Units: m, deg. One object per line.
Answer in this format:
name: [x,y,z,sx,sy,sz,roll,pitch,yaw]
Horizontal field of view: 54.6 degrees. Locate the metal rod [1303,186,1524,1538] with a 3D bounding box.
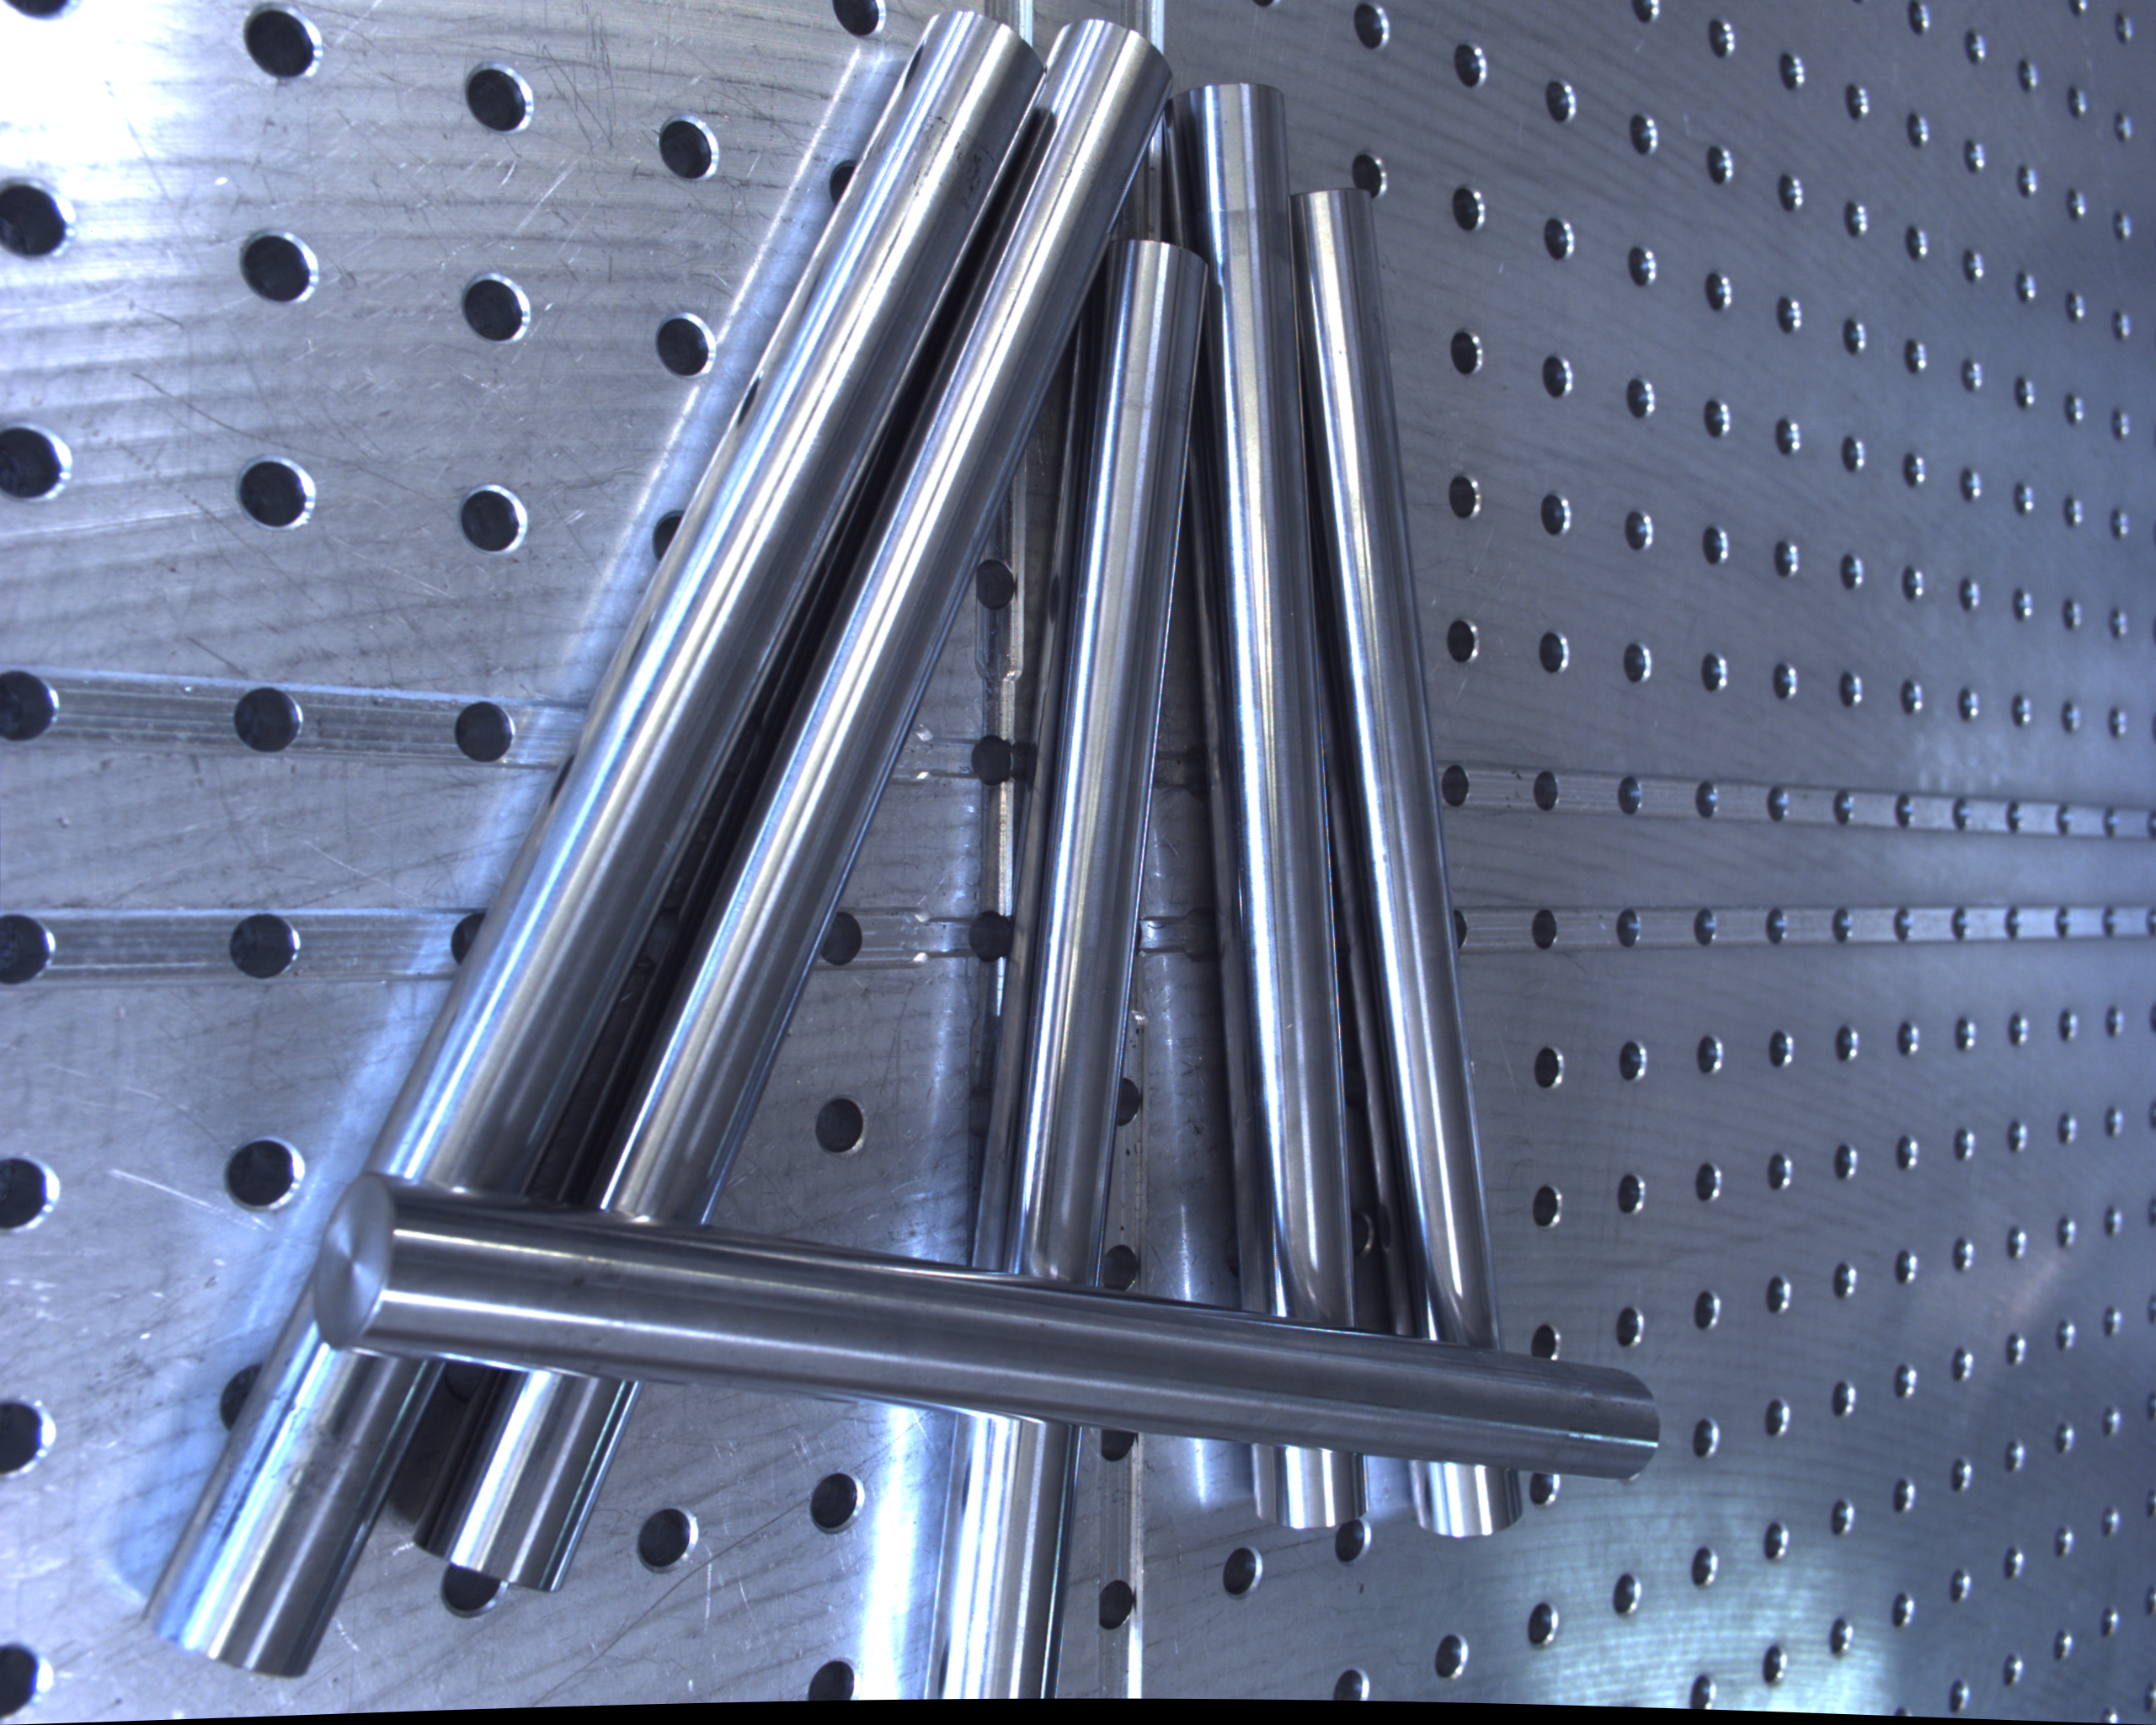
metal rod: [0.071,0.004,0.467,0.025,0.025,0.298,-13,98,-39]

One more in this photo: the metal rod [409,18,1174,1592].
metal rod: [-0.043,-0.024,0.372,0.025,0.025,0.300,32,70,-35]

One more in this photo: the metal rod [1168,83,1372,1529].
metal rod: [0.041,-0.009,0.442,0.025,0.025,0.298,-7,94,-40]

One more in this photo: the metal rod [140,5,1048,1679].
metal rod: [-0.071,-0.019,0.348,0.025,0.025,0.300,34,69,-35]

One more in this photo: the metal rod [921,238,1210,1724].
metal rod: [-0.002,0.027,0.406,0.025,0.025,0.299,11,83,-40]
